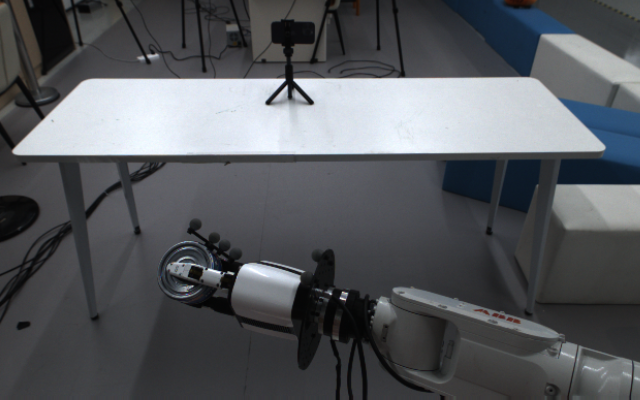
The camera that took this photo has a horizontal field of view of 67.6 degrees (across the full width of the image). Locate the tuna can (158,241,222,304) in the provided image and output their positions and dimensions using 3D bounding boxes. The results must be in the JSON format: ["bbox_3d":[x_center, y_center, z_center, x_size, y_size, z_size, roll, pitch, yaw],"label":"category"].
[{"bbox_3d":[-0.181,0.102,0.679,0.085,0.034,0.085,-4,69,10],"label":"tuna can"}]
